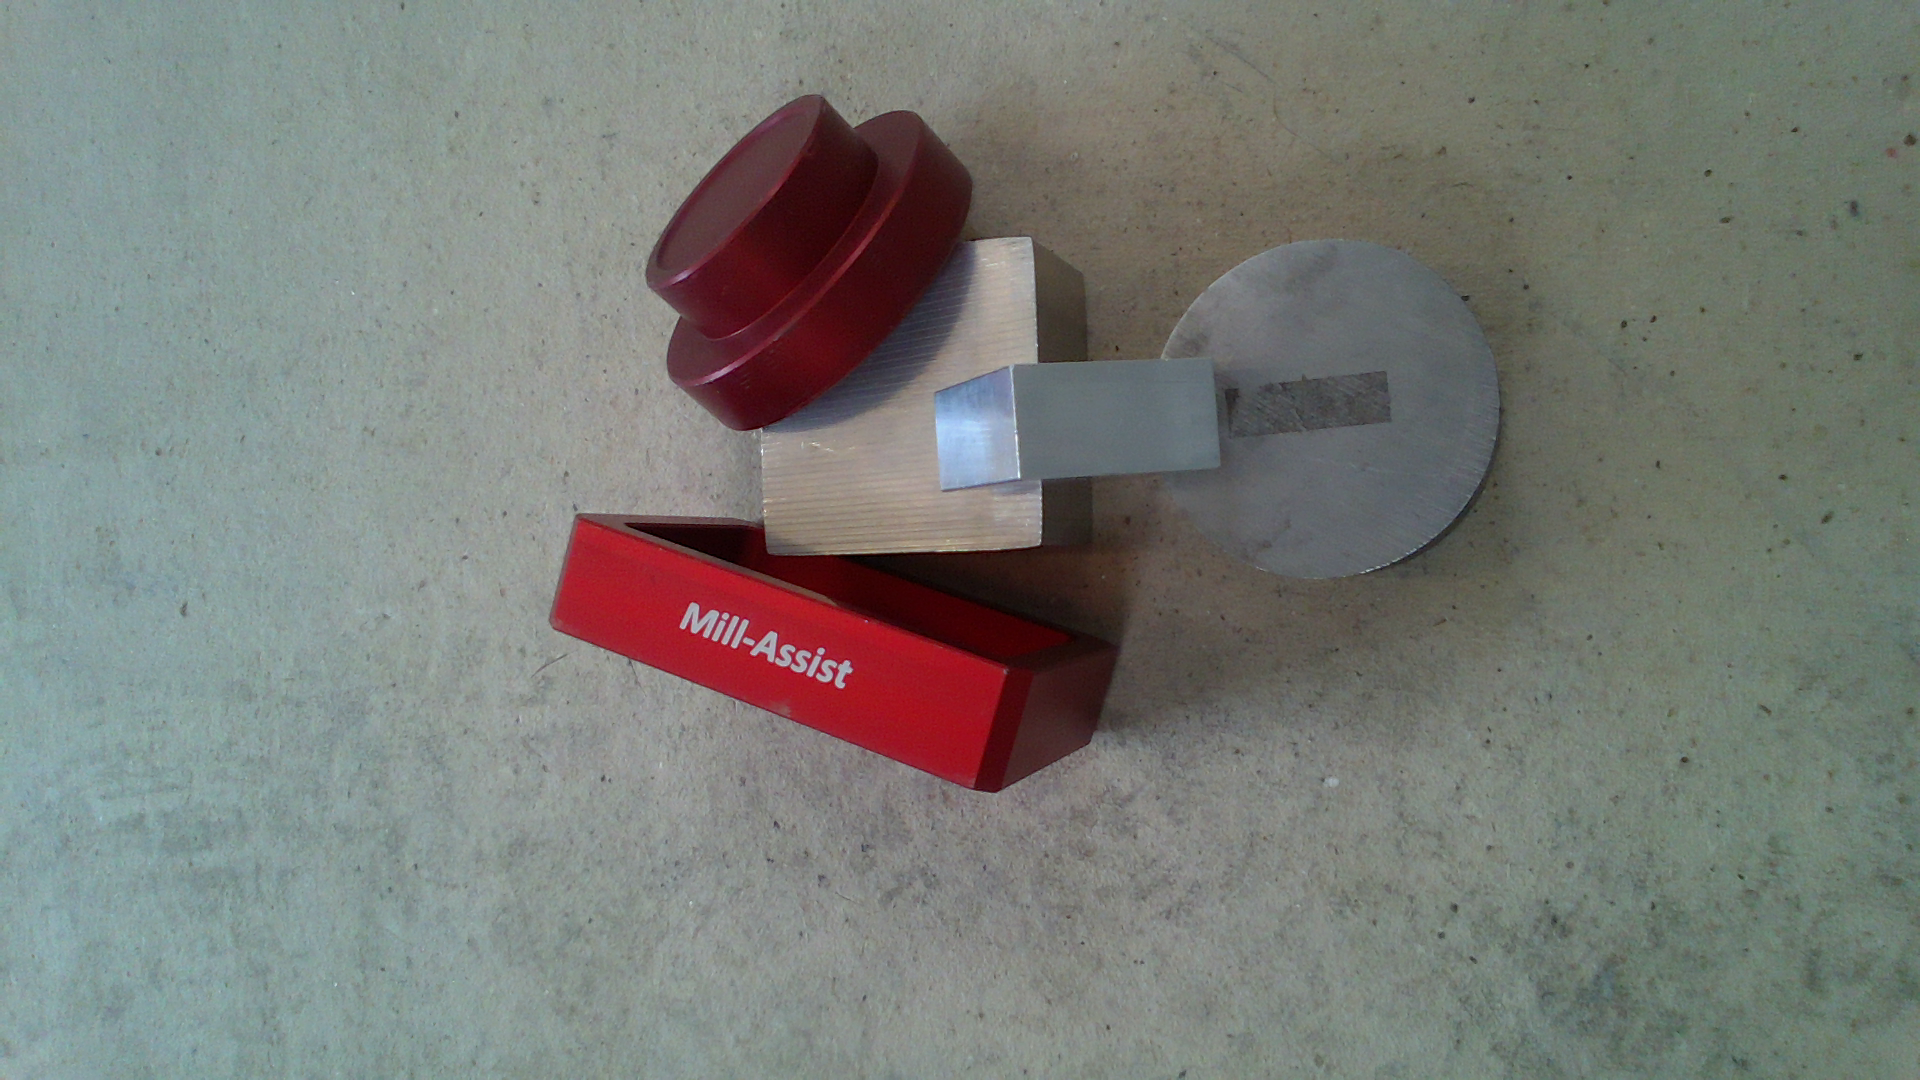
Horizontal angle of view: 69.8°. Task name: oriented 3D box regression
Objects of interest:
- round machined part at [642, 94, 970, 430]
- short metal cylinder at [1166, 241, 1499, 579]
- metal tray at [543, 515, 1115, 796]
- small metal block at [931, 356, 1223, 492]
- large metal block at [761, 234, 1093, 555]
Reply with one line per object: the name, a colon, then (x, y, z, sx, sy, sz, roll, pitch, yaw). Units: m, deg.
round machined part: (-0.048, -0.081, 0.373, 0.098, 0.098, 0.042, -38, 122, 16)
short metal cylinder: (0.094, -0.031, 0.350, 0.080, 0.050, 0.080, 0, 90, 20)
metal tray: (-0.032, 0.026, 0.373, 0.130, 0.090, 0.030, 18, 96, 19)
small metal block: (0.026, -0.027, 0.325, 0.050, 0.050, 0.025, -5, 91, -21)
large metal block: (-0.009, -0.037, 0.387, 0.080, 0.050, 0.080, -2, 90, 20)
